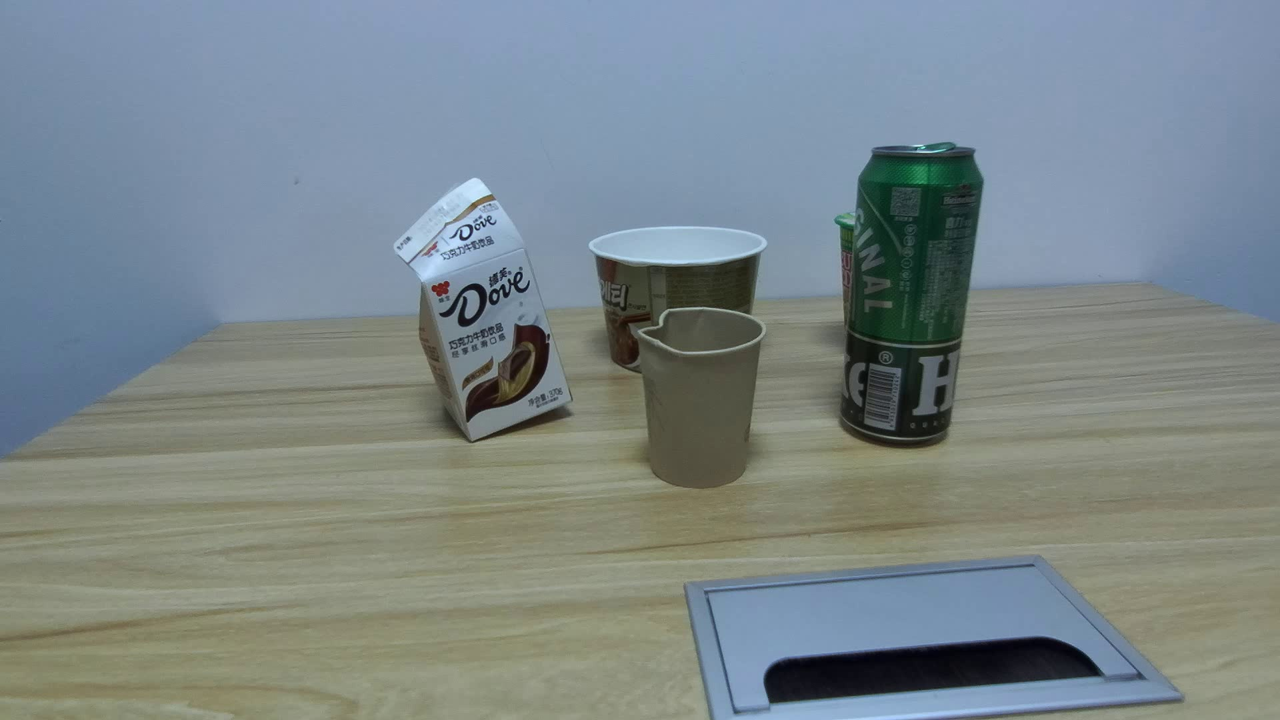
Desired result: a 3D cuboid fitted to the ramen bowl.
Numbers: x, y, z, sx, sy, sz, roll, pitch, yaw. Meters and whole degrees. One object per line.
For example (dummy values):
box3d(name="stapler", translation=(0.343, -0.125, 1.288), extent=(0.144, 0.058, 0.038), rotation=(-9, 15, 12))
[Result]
box3d(name="ramen bowl", translation=(0.029, -0.049, 0.567), extent=(0.140, 0.095, 0.140), rotation=(0, 20, 0))

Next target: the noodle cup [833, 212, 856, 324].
box3d(name="noodle cup", translation=(0.189, -0.048, 0.505), extent=(0.097, 0.110, 0.097), rotation=(-4, 17, 2))

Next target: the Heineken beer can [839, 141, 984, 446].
box3d(name="Heineken beer can", translation=(0.159, -0.036, 0.419), extent=(0.067, 0.169, 0.067), rotation=(-1, 18, 0))

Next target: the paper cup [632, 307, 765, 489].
box3d(name="paper cup", translation=(0.034, 0.021, 0.391), extent=(0.069, 0.081, 0.073), rotation=(-14, 24, -33))

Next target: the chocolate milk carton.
box3d(name="chocolate milk carton", translation=(-0.104, -0.032, 0.462), extent=(0.089, 0.156, 0.076), rotation=(-28, 27, -24))
